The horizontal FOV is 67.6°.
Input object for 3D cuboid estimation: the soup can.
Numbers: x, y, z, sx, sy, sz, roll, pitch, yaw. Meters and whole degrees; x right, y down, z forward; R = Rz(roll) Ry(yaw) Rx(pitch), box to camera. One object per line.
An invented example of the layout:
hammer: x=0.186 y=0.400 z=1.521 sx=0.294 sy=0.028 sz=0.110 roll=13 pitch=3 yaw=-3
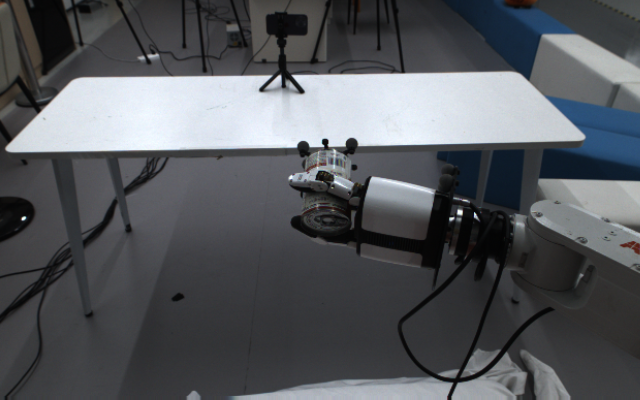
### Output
soup can: x=0.010 y=-0.011 z=0.658 sx=0.067 sy=0.067 sz=0.101 roll=3 pitch=58 yaw=1
